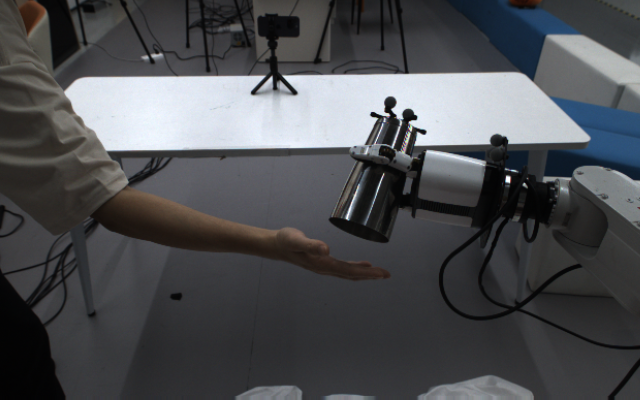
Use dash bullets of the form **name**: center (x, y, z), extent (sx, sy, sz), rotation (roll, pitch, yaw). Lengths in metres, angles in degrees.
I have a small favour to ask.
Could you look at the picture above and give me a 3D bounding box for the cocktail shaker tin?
- **cocktail shaker tin**: center (0.085, -0.036, 0.711), extent (0.093, 0.093, 0.170), rotation (17, 76, 20)
